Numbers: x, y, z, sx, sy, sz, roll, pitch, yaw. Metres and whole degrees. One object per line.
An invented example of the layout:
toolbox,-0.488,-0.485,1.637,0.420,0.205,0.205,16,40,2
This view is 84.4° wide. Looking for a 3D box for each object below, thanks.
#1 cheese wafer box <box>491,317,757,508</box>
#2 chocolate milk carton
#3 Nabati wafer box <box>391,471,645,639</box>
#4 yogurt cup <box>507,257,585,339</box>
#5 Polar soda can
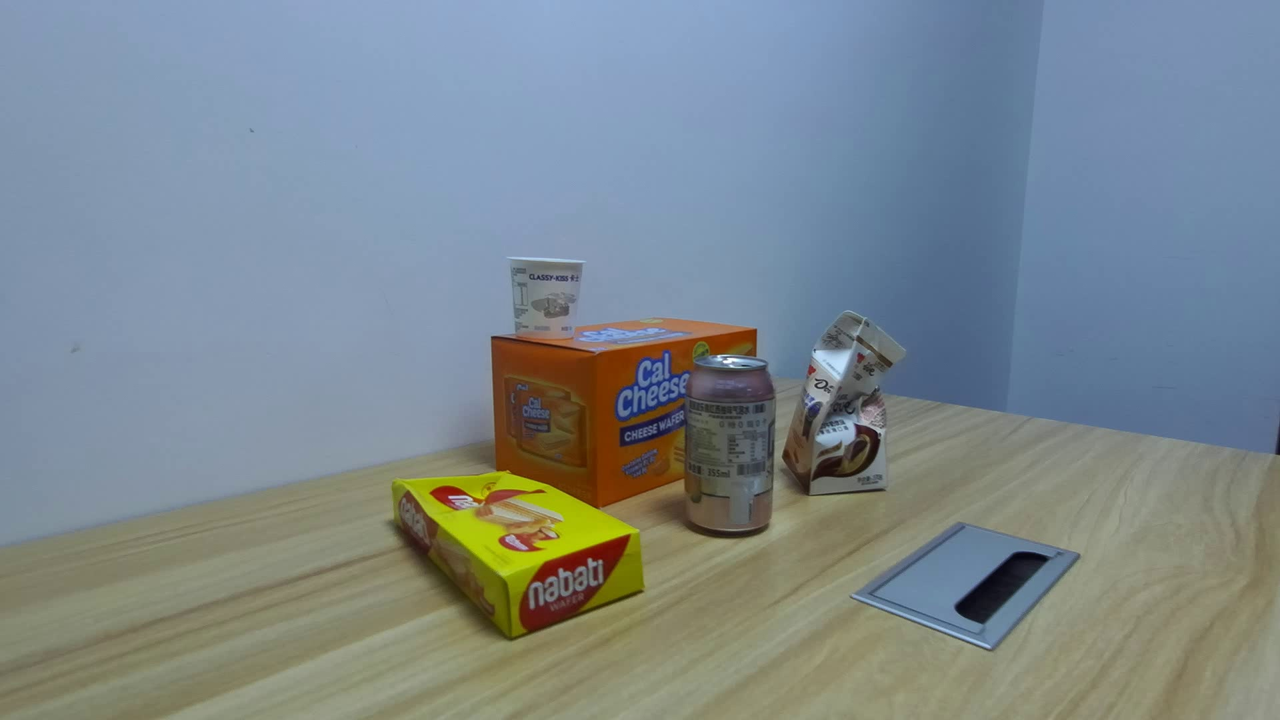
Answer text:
cheese wafer box,-0.009,0.037,0.676,0.147,0.129,0.223,9,13,43
chocolate milk carton,0.181,0.038,0.612,0.089,0.155,0.076,12,10,-15
Nabati wafer box,-0.092,0.113,0.476,0.097,0.042,0.202,-8,12,-34
yogurt cup,-0.084,-0.055,0.633,0.072,0.068,0.072,2,9,0
Polar soda can,0.066,0.062,0.523,0.067,0.125,0.067,0,7,0
